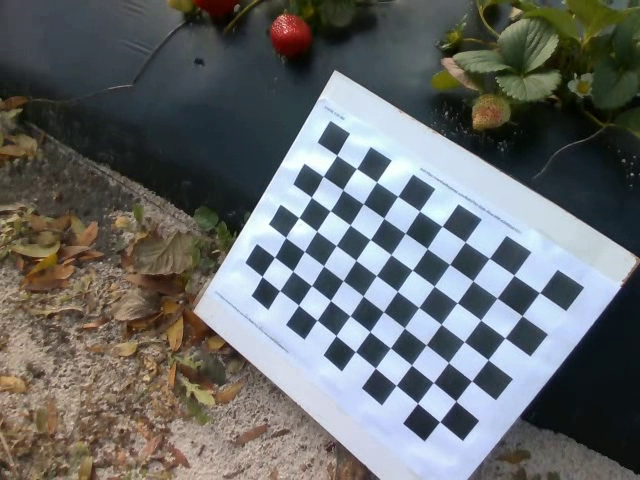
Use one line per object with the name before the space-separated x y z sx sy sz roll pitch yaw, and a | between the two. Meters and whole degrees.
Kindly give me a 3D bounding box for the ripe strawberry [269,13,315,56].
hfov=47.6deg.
ripe strawberry | -0.009 -0.145 0.521 0.033 0.038 0.039 42 22 0
